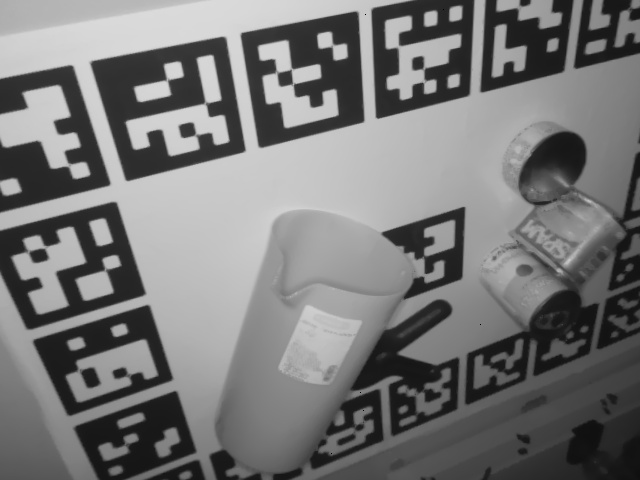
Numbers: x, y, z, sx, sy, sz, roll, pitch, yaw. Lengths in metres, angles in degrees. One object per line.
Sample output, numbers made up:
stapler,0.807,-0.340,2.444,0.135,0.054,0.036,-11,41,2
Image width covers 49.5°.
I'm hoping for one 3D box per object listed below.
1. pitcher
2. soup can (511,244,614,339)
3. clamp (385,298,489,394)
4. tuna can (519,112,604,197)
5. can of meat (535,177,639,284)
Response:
pitcher,0.018,0.116,0.681,0.192,0.132,0.239,-16,133,-41
soup can,0.269,0.056,0.784,0.069,0.101,0.067,-11,119,-20
clamp,0.122,0.138,0.814,0.166,0.036,0.121,-17,127,-10
tuna can,0.255,-0.091,0.736,0.087,0.033,0.085,-10,119,-18
can of meat,0.301,-0.015,0.754,0.058,0.101,0.083,34,97,-33
